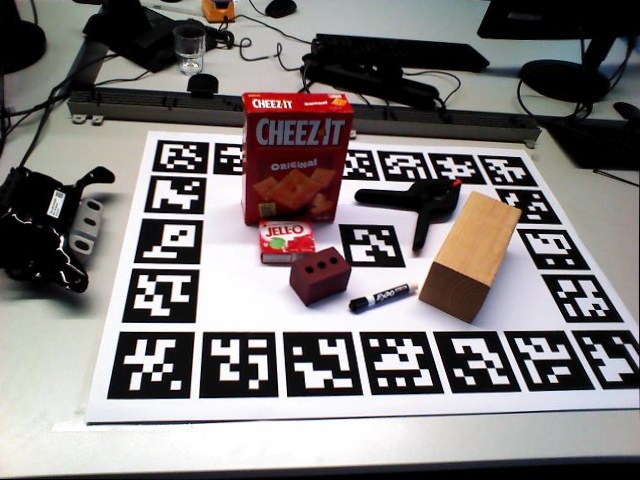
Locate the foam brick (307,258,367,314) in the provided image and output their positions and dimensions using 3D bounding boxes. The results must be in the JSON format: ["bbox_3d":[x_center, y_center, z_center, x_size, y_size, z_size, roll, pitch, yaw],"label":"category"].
[{"bbox_3d":[0.024,0.066,0.775,0.078,0.051,0.053,-19,54,-25],"label":"foam brick"}]

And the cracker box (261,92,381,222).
[{"bbox_3d":[-0.007,-0.125,0.833,0.164,0.215,0.071,0,46,-12],"label":"cracker box"}]

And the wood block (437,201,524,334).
[{"bbox_3d":[0.272,0.035,0.823,0.090,0.091,0.204,25,45,18],"label":"wood block"}]

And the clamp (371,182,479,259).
[{"bbox_3d":[0.218,-0.058,0.936,0.202,0.037,0.165,-24,55,-28],"label":"clamp"}]

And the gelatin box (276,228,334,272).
[{"bbox_3d":[-0.025,0.015,0.834,0.089,0.030,0.073,0,48,-9],"label":"gelatin box"}]

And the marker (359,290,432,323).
[{"bbox_3d":[0.114,0.100,0.777,0.120,0.020,0.019,-14,52,-22],"label":"marker"}]
